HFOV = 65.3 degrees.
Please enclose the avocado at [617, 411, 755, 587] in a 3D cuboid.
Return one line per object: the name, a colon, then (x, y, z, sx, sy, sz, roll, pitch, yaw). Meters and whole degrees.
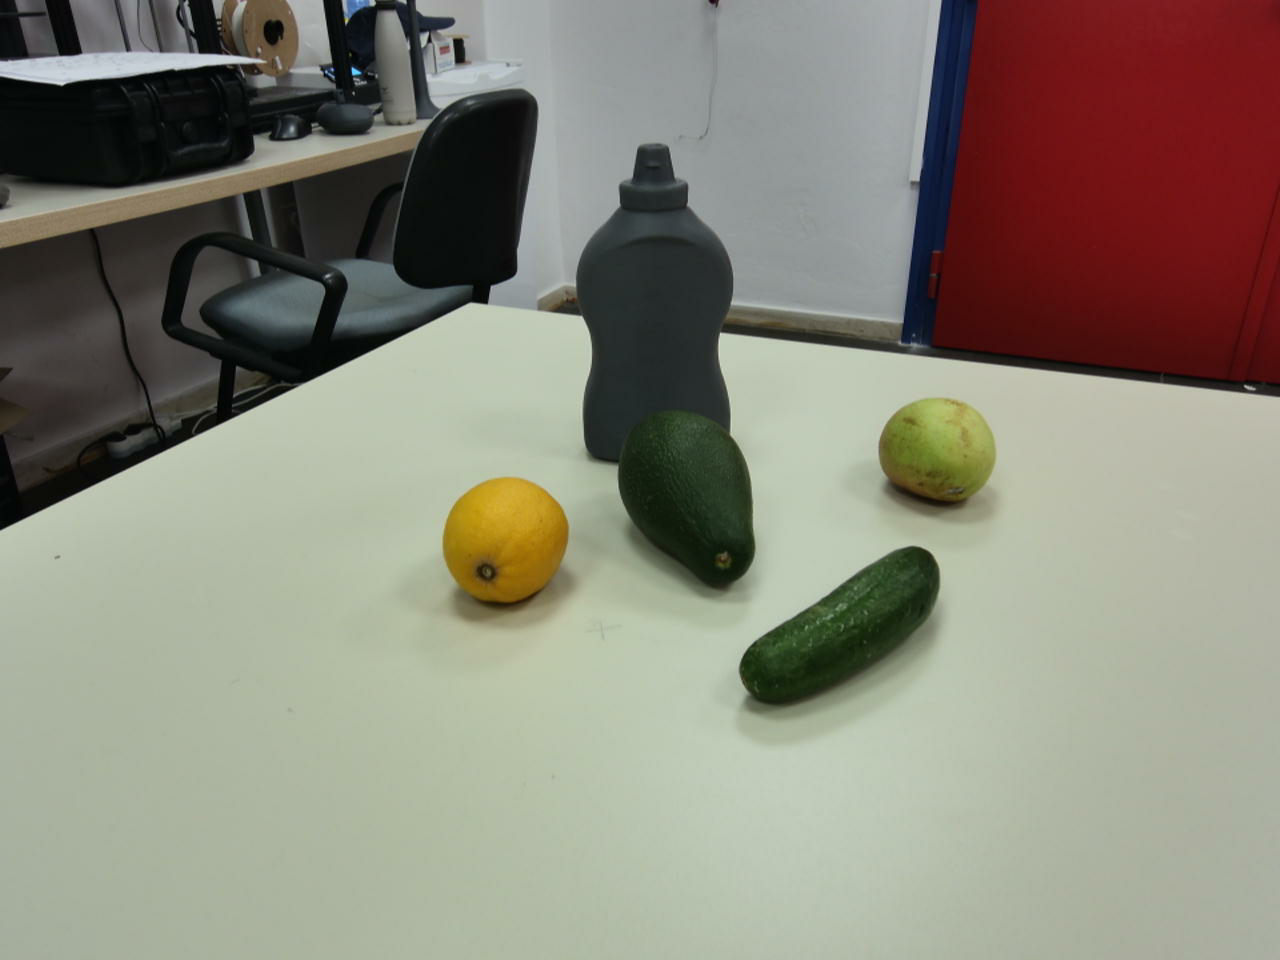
avocado: (0.023, 0.006, 0.527, 0.072, 0.071, 0.109, 1, 25, 2)
